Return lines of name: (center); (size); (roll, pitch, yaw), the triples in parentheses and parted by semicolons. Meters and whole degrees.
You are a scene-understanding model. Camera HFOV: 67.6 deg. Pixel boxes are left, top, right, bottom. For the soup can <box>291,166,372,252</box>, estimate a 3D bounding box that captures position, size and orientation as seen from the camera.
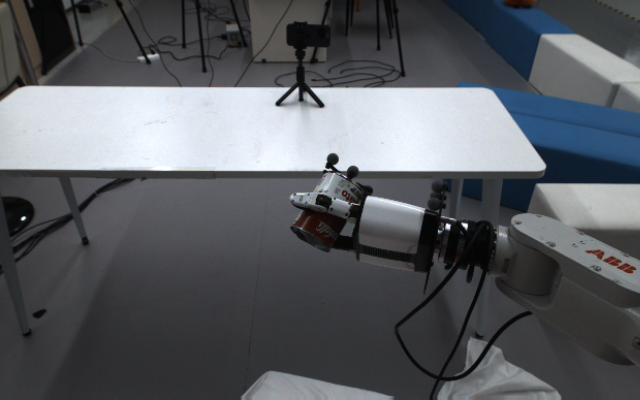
soup can: (0.012, 0.016, 0.709); (0.067, 0.067, 0.101); (24, 73, 28)
